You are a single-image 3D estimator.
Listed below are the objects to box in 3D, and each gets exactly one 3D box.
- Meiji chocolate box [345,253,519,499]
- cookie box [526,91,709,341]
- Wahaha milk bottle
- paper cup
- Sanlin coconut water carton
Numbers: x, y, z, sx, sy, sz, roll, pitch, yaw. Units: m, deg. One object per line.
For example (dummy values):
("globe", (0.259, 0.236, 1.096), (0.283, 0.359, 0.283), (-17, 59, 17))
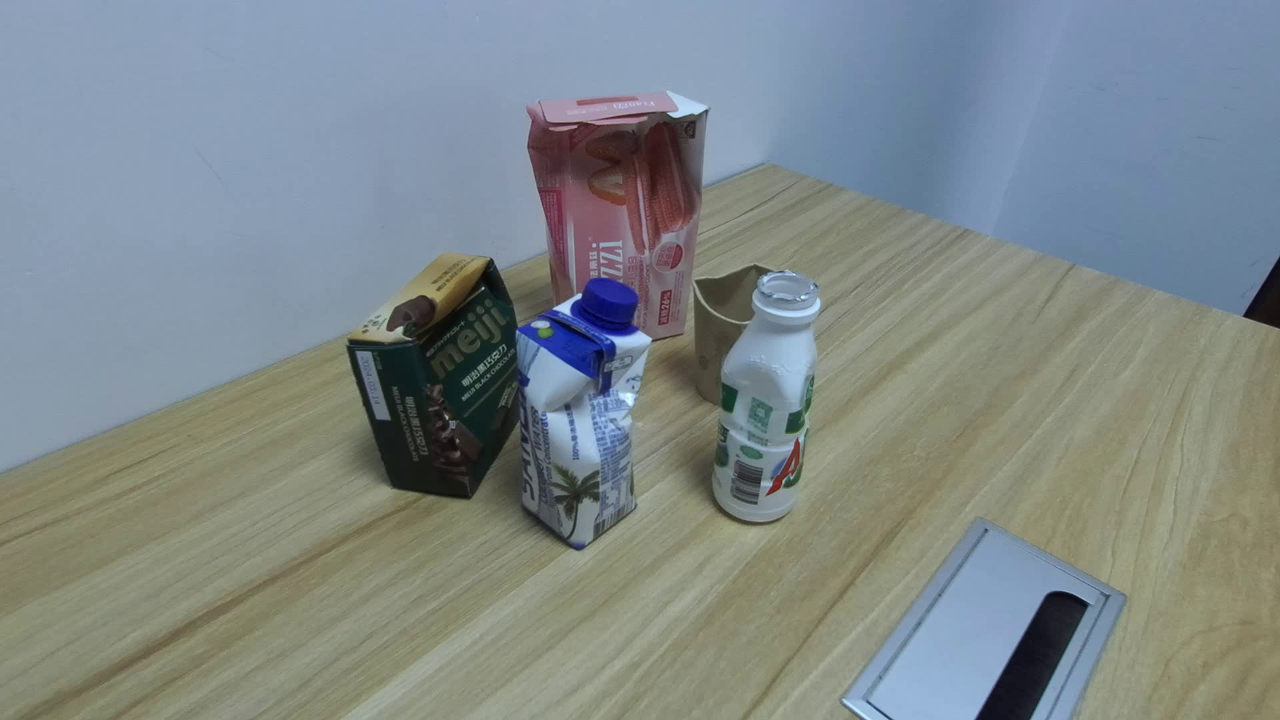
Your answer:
("Meiji chocolate box", (-0.121, 0.008, 0.445), (0.058, 0.111, 0.113), (1, 32, 11))
("cookie box", (-0.016, -0.095, 0.520), (0.119, 0.184, 0.055), (-10, 37, -15))
("Wahaha milk bottle", (0.070, 0.022, 0.390), (0.055, 0.149, 0.055), (0, 35, 0))
("paper cup", (0.079, -0.021, 0.541), (0.066, 0.084, 0.072), (-7, -10, 43))
("Sanlin coconut water carton", (-0.031, 0.030, 0.382), (0.060, 0.144, 0.070), (31, 43, 34))
